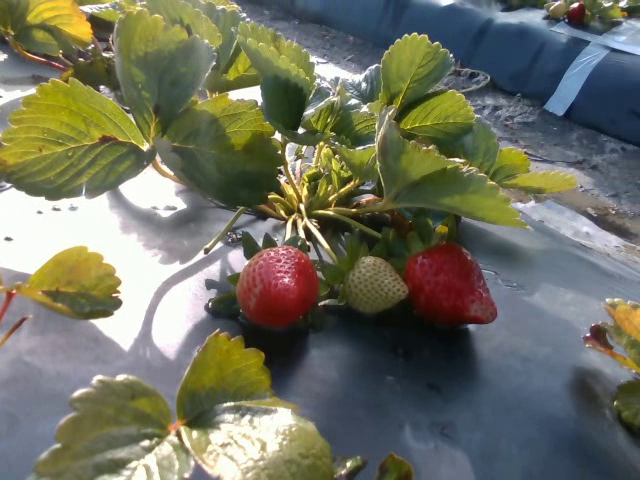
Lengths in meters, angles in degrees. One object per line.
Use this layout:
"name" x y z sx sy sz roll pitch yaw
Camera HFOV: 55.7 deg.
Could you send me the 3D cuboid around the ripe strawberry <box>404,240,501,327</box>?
"ripe strawberry" 0.072 0.027 0.320 0.065 0.048 0.050 54 1 43
